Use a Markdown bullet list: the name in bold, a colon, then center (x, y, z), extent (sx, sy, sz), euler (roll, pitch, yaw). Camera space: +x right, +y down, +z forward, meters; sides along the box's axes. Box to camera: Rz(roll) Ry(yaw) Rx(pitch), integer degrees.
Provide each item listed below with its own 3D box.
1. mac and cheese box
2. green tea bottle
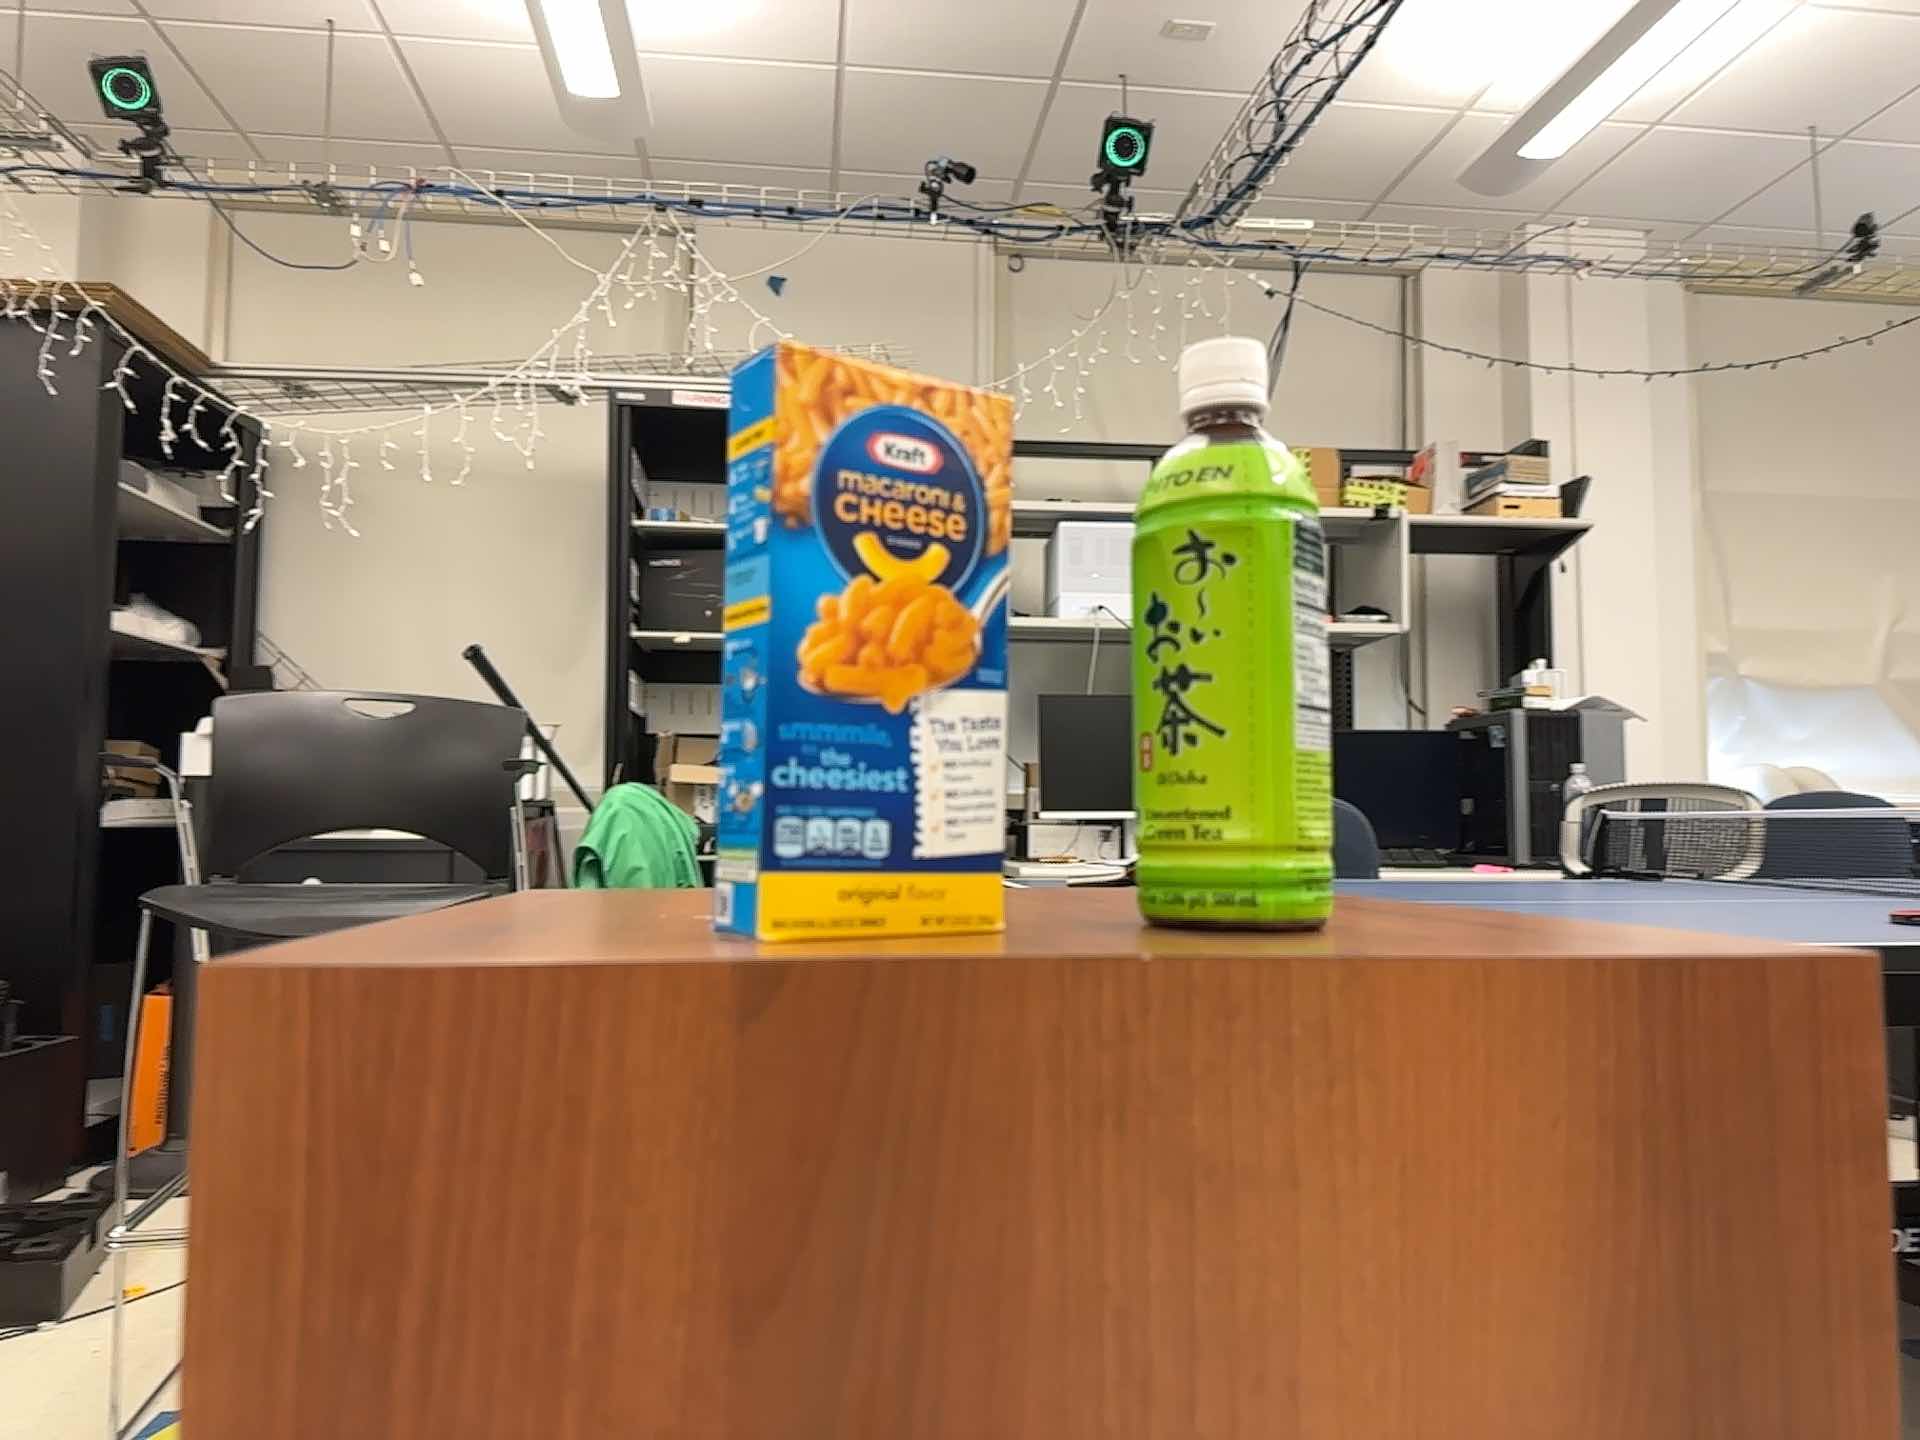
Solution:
- **mac and cheese box**: center (-0.029, -0.022, 0.446), extent (0.088, 0.181, 0.035), euler (4, -7, -31)
- **green tea bottle**: center (0.099, -0.032, 0.489), extent (0.073, 0.212, 0.073), euler (3, -8, 0)
